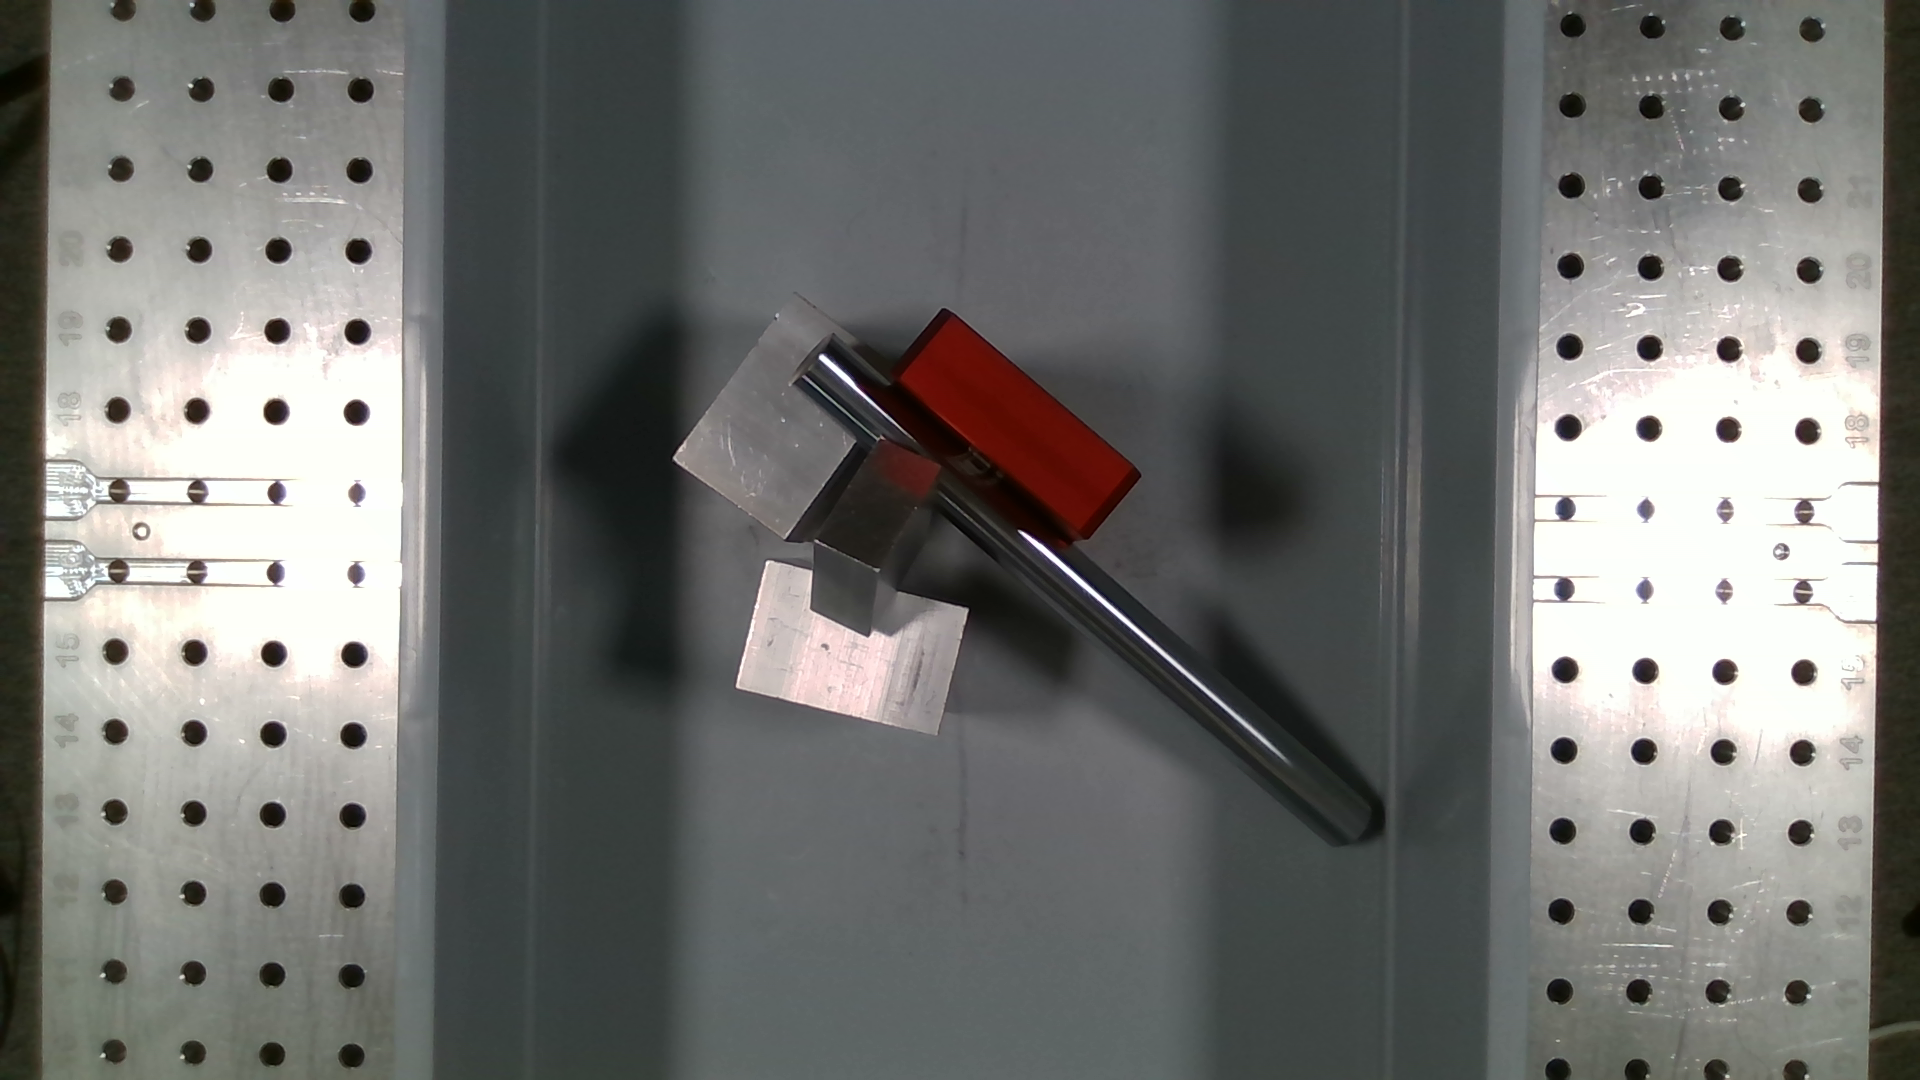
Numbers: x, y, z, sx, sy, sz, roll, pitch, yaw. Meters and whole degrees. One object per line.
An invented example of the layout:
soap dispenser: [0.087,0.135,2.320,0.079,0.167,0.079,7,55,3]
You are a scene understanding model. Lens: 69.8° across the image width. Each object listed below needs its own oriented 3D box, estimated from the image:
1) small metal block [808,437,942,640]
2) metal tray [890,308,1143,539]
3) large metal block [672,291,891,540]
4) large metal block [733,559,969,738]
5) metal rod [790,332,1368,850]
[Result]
small metal block: [-0.031,0.000,0.499,0.025,0.050,0.050,25,59,8]
metal tray: [0.020,-0.039,0.533,0.090,0.130,0.030,40,89,1]
large metal block: [-0.065,-0.047,0.559,0.050,0.080,0.080,36,90,0]
large metal block: [-0.041,0.041,0.560,0.080,0.080,0.050,13,90,0]
metal rod: [0.055,0.028,0.541,0.300,0.025,0.025,41,90,-17]
